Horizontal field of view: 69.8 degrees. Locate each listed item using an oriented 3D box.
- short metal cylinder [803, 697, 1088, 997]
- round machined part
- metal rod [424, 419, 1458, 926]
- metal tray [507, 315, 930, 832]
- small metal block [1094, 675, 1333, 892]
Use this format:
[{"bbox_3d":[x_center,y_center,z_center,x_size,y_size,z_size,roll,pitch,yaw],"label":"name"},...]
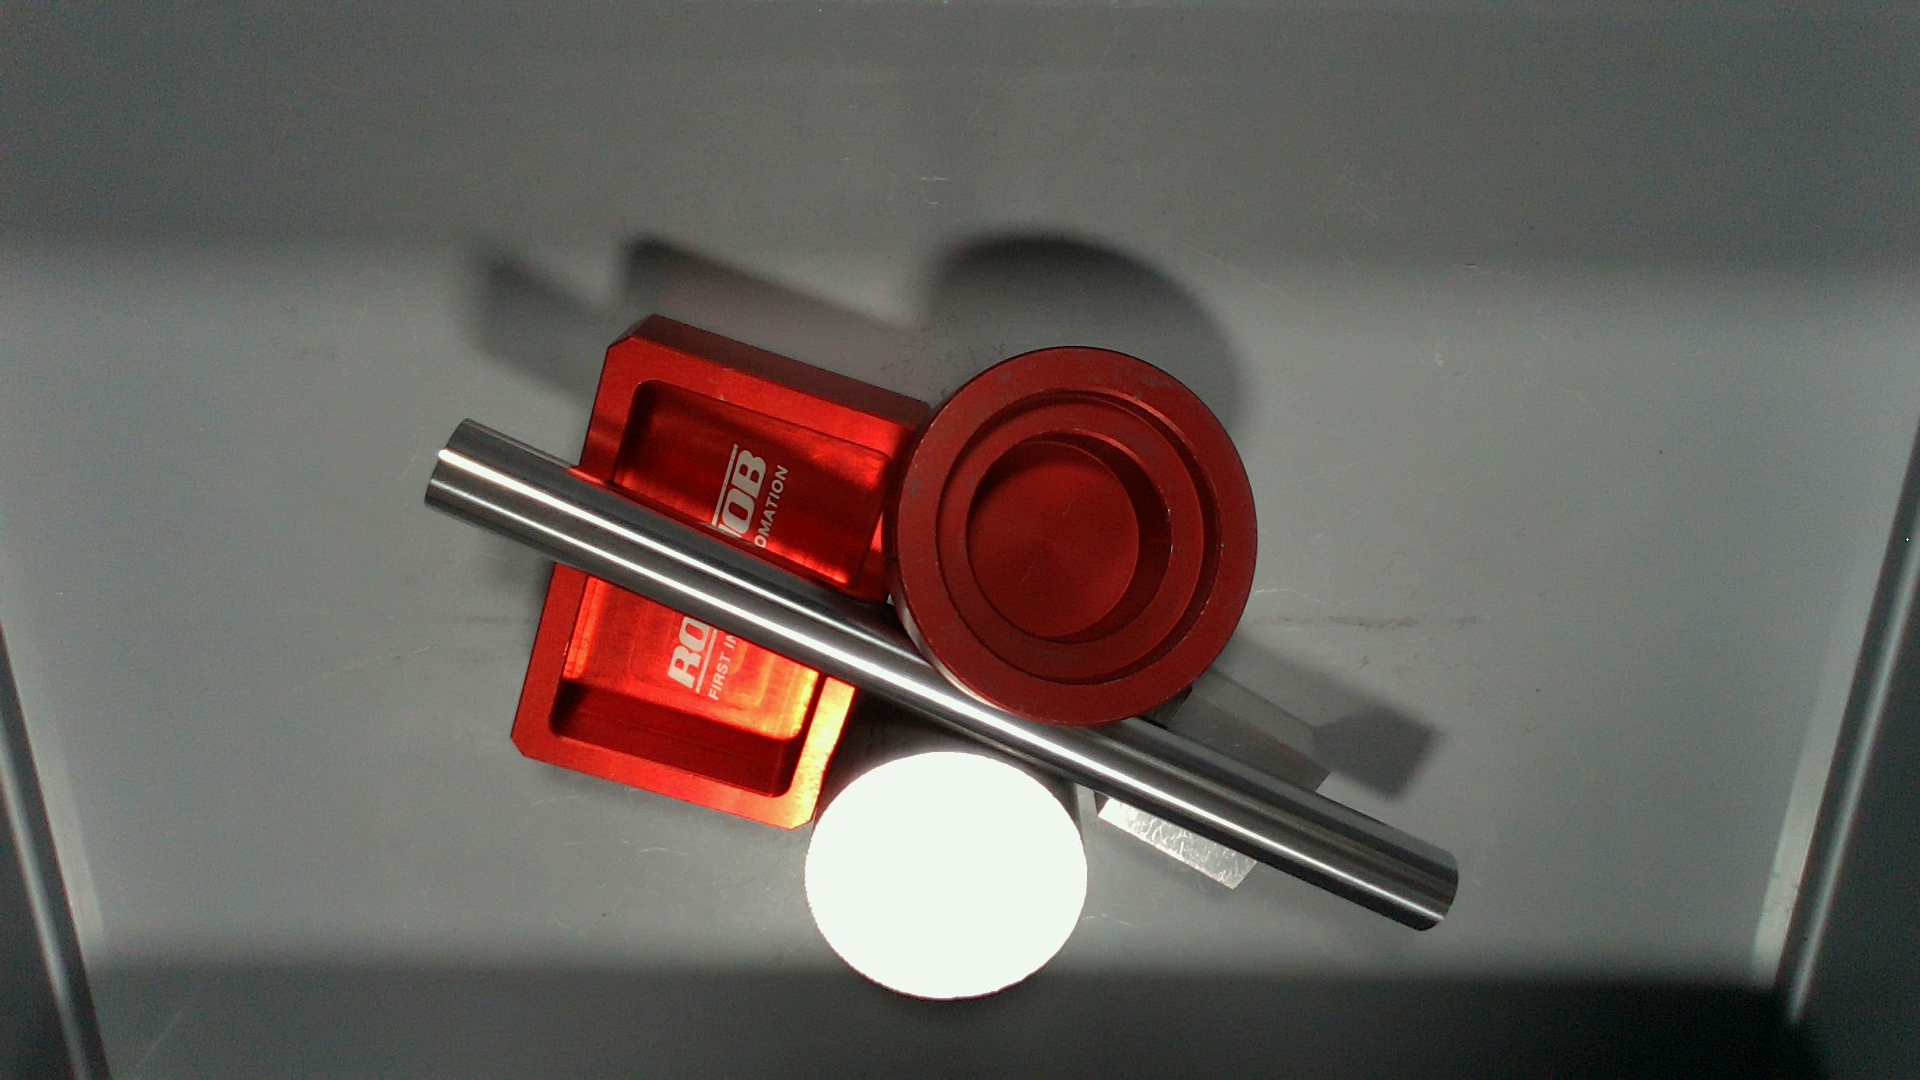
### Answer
[{"bbox_3d":[-0.004,0.087,0.411,0.080,0.050,0.080,0,110,0],"label":"short metal cylinder"},{"bbox_3d":[0.027,0.000,0.371,0.098,0.042,0.098,0,88,-13],"label":"round machined part"},{"bbox_3d":[0.005,0.041,0.377,0.300,0.025,0.025,24,108,-11],"label":"metal rod"},{"bbox_3d":[-0.068,0.012,0.393,0.090,0.030,0.130,17,109,-6],"label":"metal tray"},{"bbox_3d":[0.075,0.071,0.419,0.050,0.025,0.050,30,107,-11],"label":"small metal block"}]
